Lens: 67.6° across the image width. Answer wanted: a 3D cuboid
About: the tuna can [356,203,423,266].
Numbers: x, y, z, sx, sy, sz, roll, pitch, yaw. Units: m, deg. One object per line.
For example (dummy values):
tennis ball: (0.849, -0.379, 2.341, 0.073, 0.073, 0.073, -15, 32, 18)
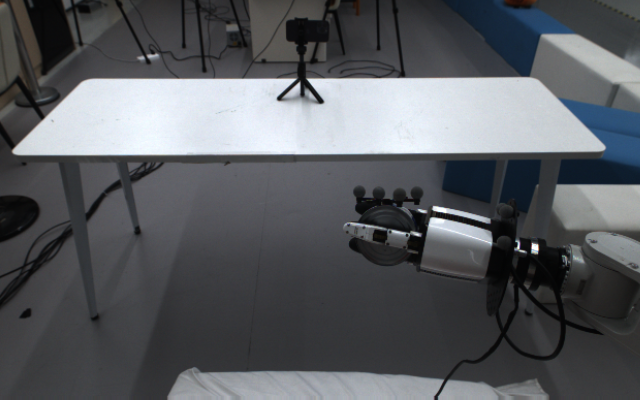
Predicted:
tuna can: (0.096, 0.047, 0.677, 0.085, 0.085, 0.034, 12, 8, 14)
